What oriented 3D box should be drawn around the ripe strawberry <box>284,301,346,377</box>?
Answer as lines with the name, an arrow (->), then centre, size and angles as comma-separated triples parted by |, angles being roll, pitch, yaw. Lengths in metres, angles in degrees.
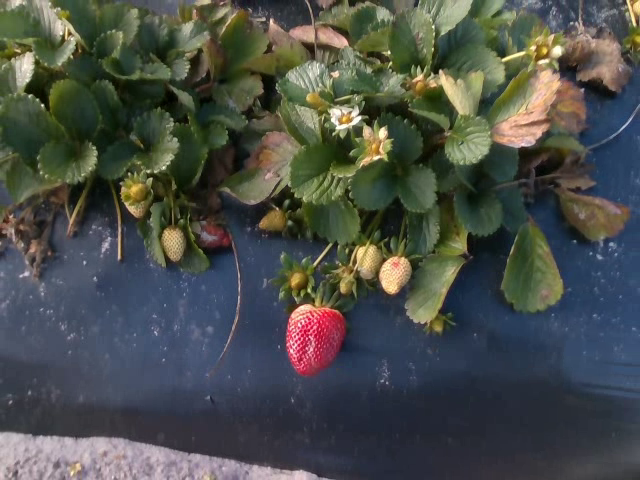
ripe strawberry -> -0.006, 0.088, 0.512 | 0.052, 0.068, 0.045 | 9, -34, -1
